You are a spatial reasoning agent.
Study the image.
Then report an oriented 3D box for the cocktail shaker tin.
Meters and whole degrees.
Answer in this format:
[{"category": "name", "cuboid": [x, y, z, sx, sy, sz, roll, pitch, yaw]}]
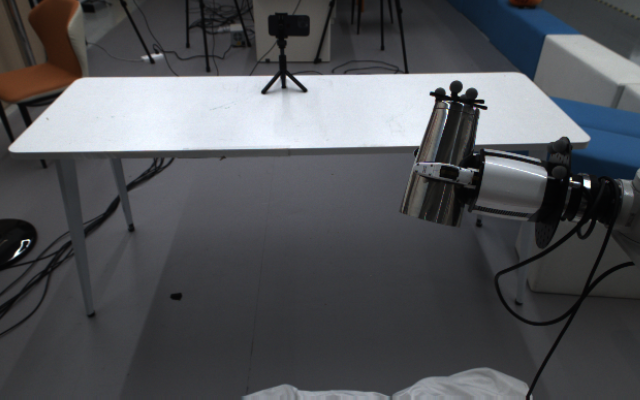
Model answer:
[{"category": "cocktail shaker tin", "cuboid": [0.182, -0.055, 0.713, 0.093, 0.170, 0.093, 13, 4, -1]}]
